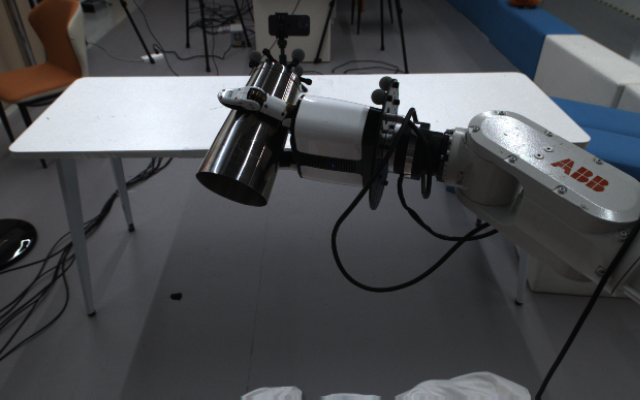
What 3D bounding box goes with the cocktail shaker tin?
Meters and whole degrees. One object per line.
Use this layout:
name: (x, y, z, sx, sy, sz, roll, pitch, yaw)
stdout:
cocktail shaker tin: (-0.082, -0.088, 0.616, 0.093, 0.093, 0.170, 13, 70, 15)
